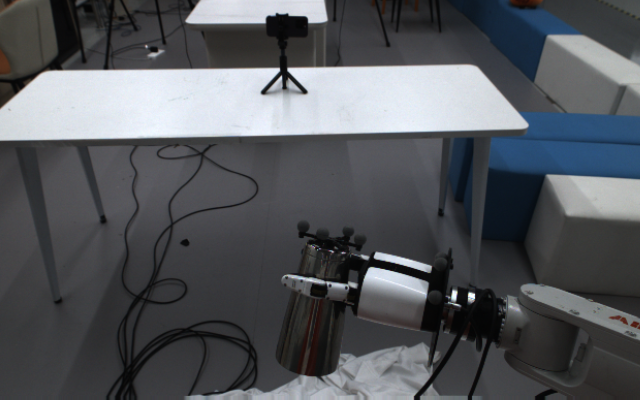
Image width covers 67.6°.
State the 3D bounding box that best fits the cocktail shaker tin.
[{"bbox_3d":[0.000,0.142,0.680,0.093,0.170,0.093,10,9,-2],"label":"cocktail shaker tin"}]
